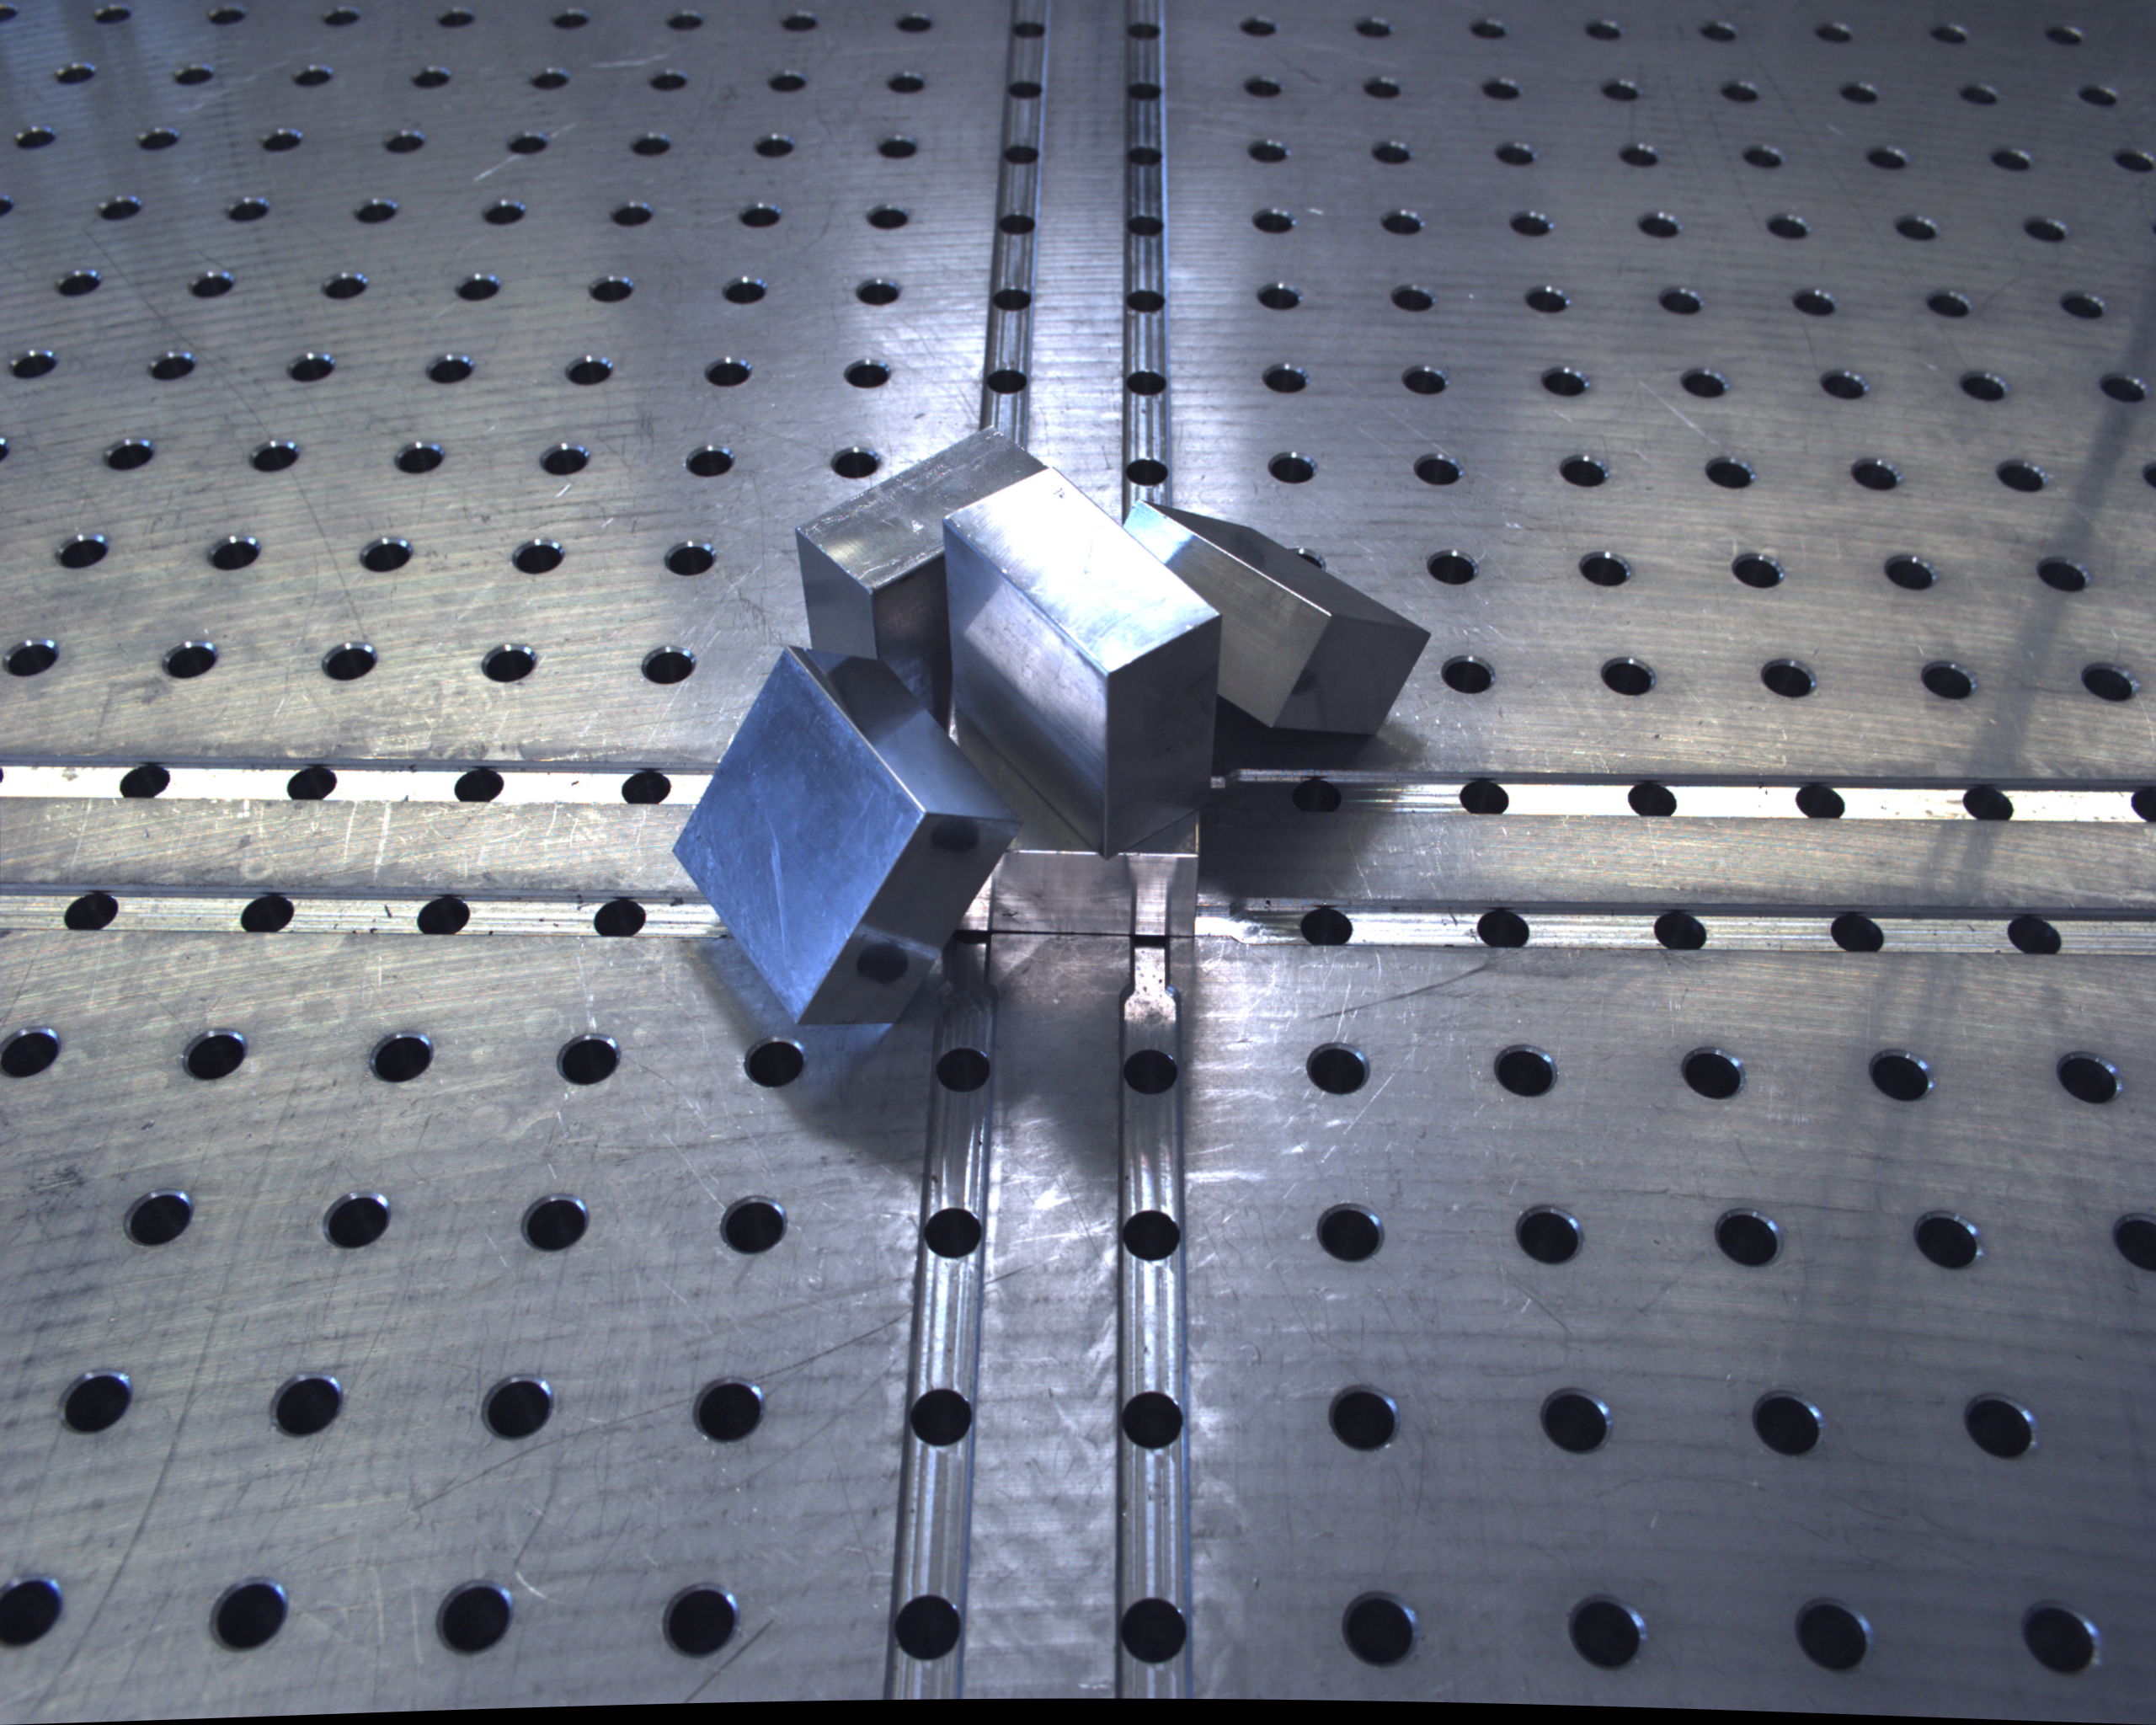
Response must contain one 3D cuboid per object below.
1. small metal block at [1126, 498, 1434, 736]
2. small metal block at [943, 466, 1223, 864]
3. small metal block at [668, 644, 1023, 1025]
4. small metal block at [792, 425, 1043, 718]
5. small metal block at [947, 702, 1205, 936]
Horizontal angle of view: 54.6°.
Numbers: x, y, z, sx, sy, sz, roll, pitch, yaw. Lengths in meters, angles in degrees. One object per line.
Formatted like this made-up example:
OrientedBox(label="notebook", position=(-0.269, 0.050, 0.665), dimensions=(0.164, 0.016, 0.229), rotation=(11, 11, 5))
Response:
OrientedBox(label="small metal block", position=(0.038, -0.050, 0.433), dimensions=(0.050, 0.025, 0.050), rotation=(35, 19, 26))
OrientedBox(label="small metal block", position=(0.000, -0.037, 0.390), dimensions=(0.025, 0.050, 0.050), rotation=(-29, 56, -23))
OrientedBox(label="small metal block", position=(-0.045, -0.005, 0.392), dimensions=(0.025, 0.050, 0.050), rotation=(5, 36, -48))
OrientedBox(label="small metal block", position=(-0.030, -0.056, 0.438), dimensions=(0.050, 0.050, 0.025), rotation=(-34, 58, -25))
OrientedBox(label="small metal block", position=(-0.001, -0.013, 0.418), dimensions=(0.050, 0.025, 0.050), rotation=(1, 50, -1))
